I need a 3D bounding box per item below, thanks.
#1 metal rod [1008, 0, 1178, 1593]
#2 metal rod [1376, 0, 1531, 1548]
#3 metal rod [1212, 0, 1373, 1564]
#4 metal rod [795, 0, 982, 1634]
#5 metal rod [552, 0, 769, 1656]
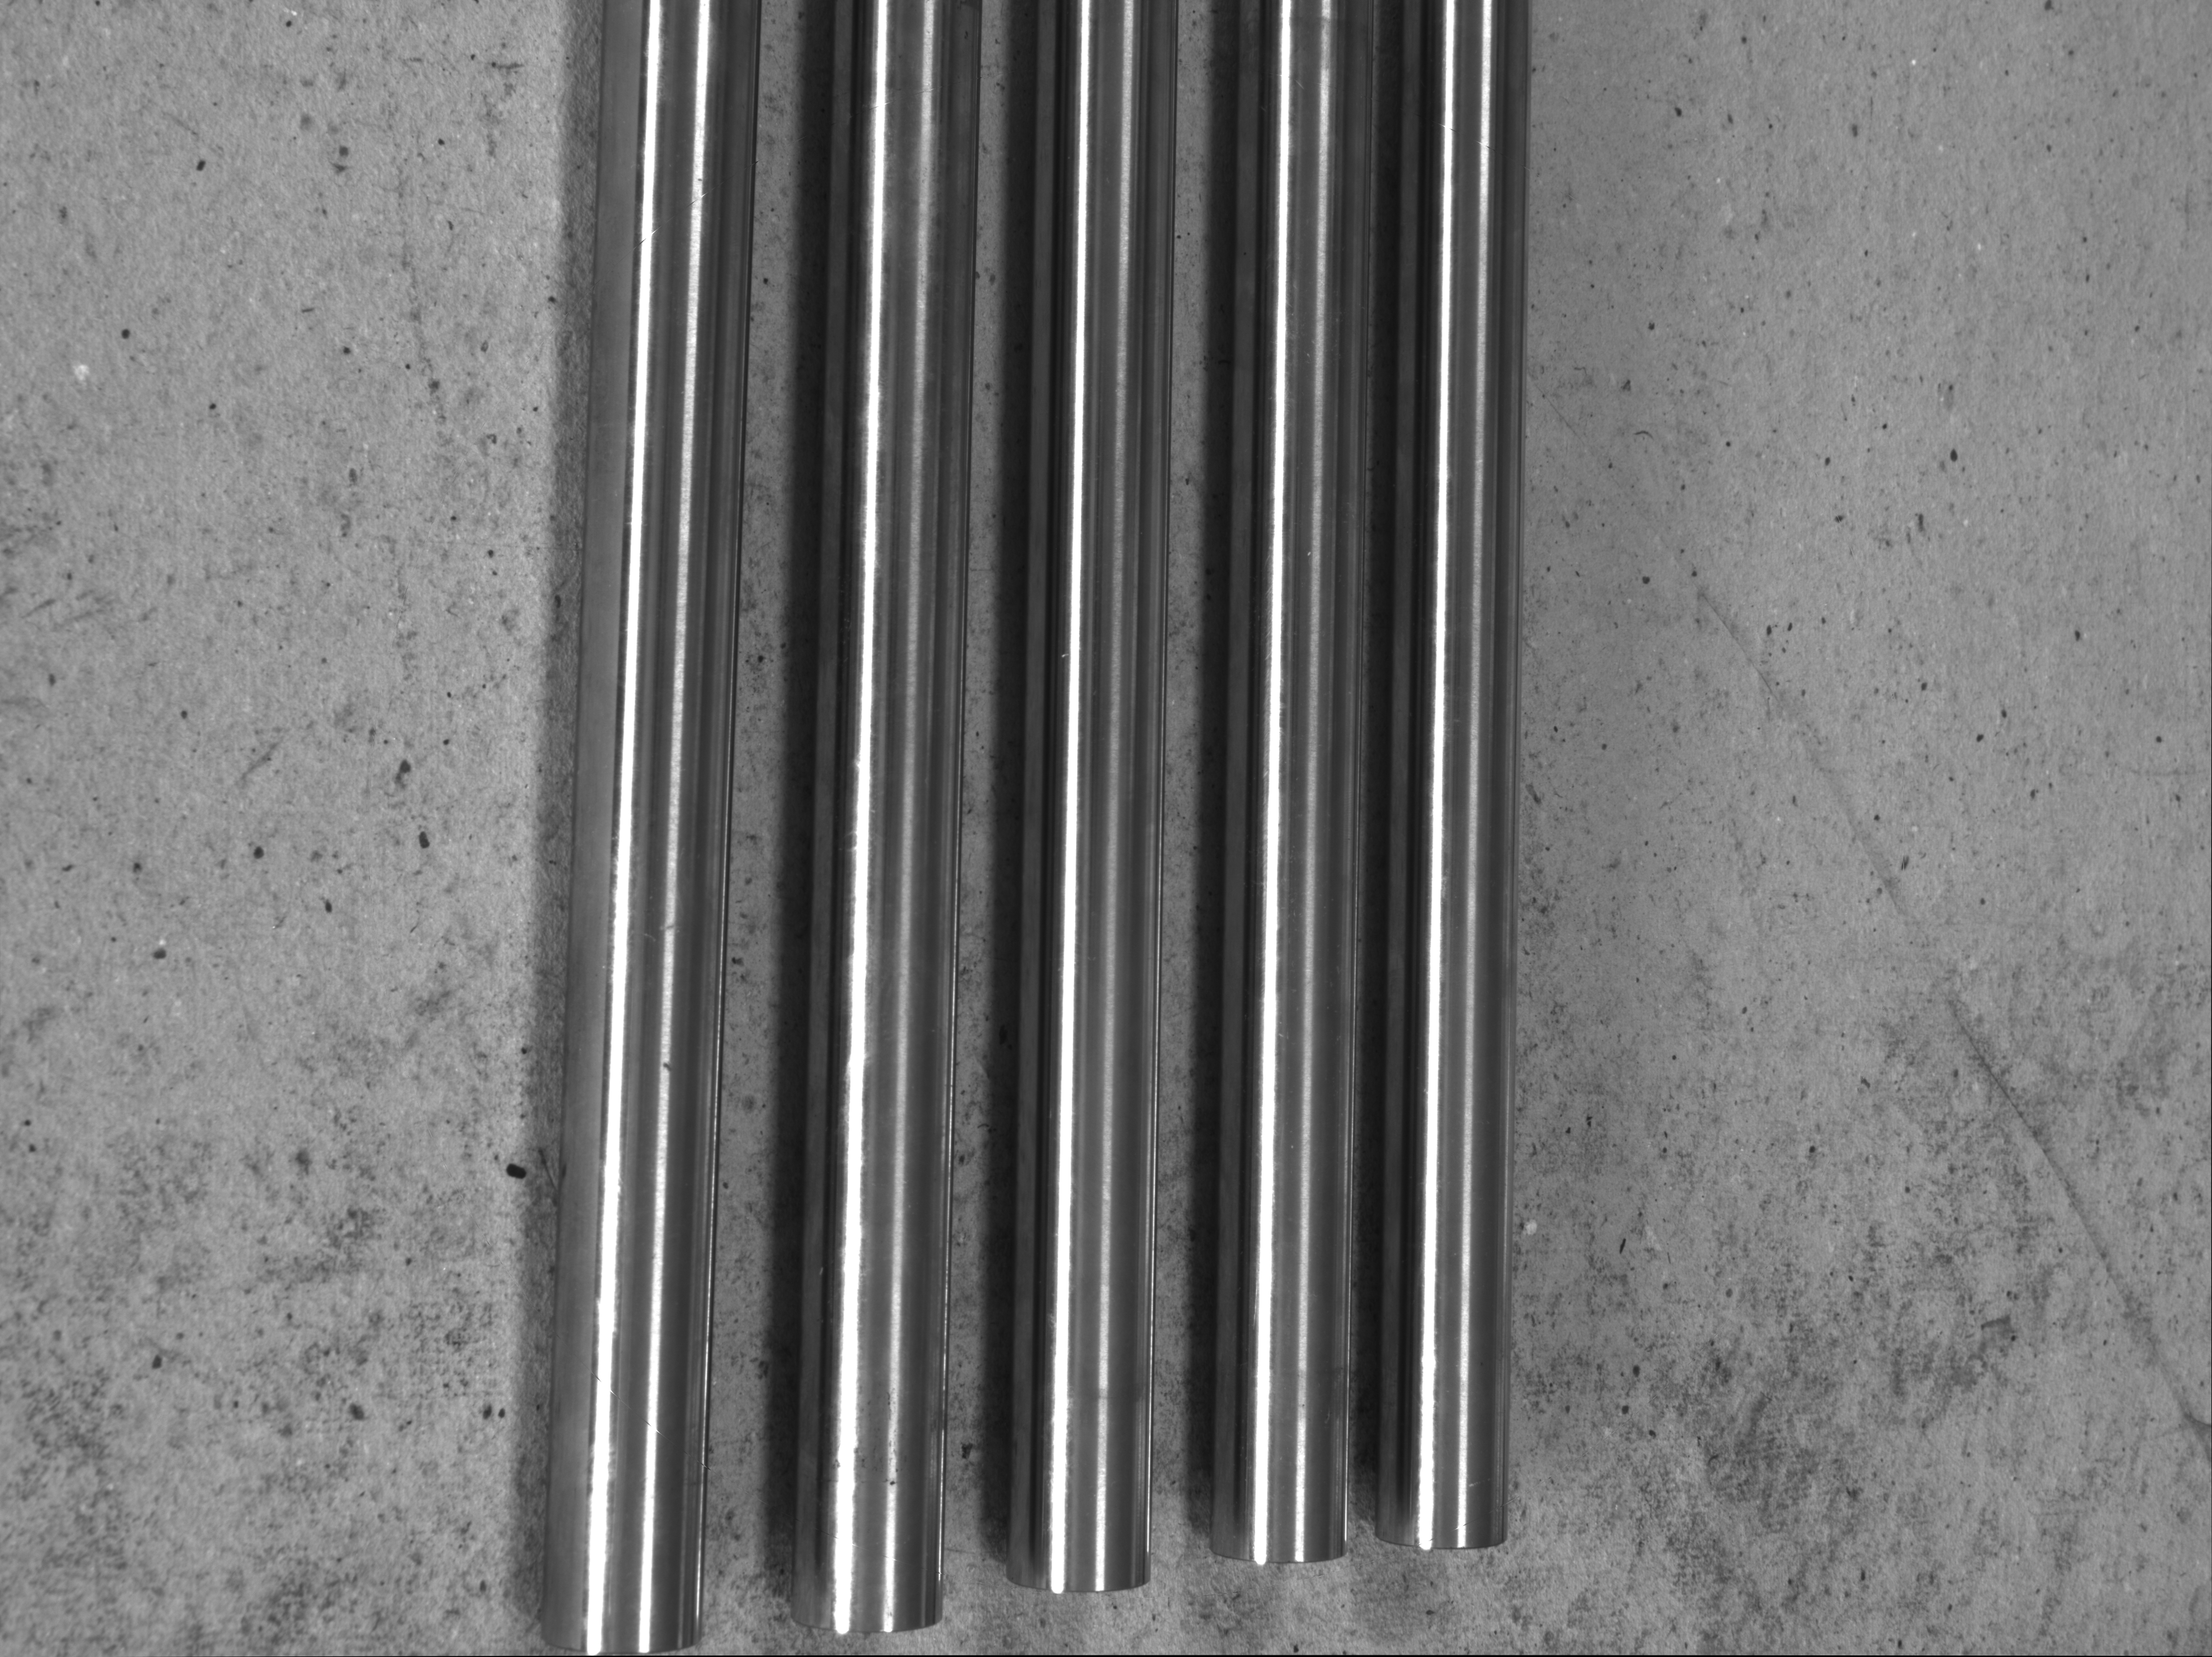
[{"bbox_3d":[-0.002,-0.021,0.634,0.025,0.025,0.300,2,89,-40],"label":"metal rod"},{"bbox_3d":[0.065,-0.017,0.690,0.025,0.025,0.300,2,89,-40],"label":"metal rod"},{"bbox_3d":[0.034,-0.020,0.664,0.025,0.025,0.300,2,89,-40],"label":"metal rod"},{"bbox_3d":[-0.036,-0.020,0.606,0.025,0.025,0.300,2,88,-40],"label":"metal rod"},{"bbox_3d":[-0.069,-0.022,0.577,0.025,0.025,0.300,3,88,-40],"label":"metal rod"}]
